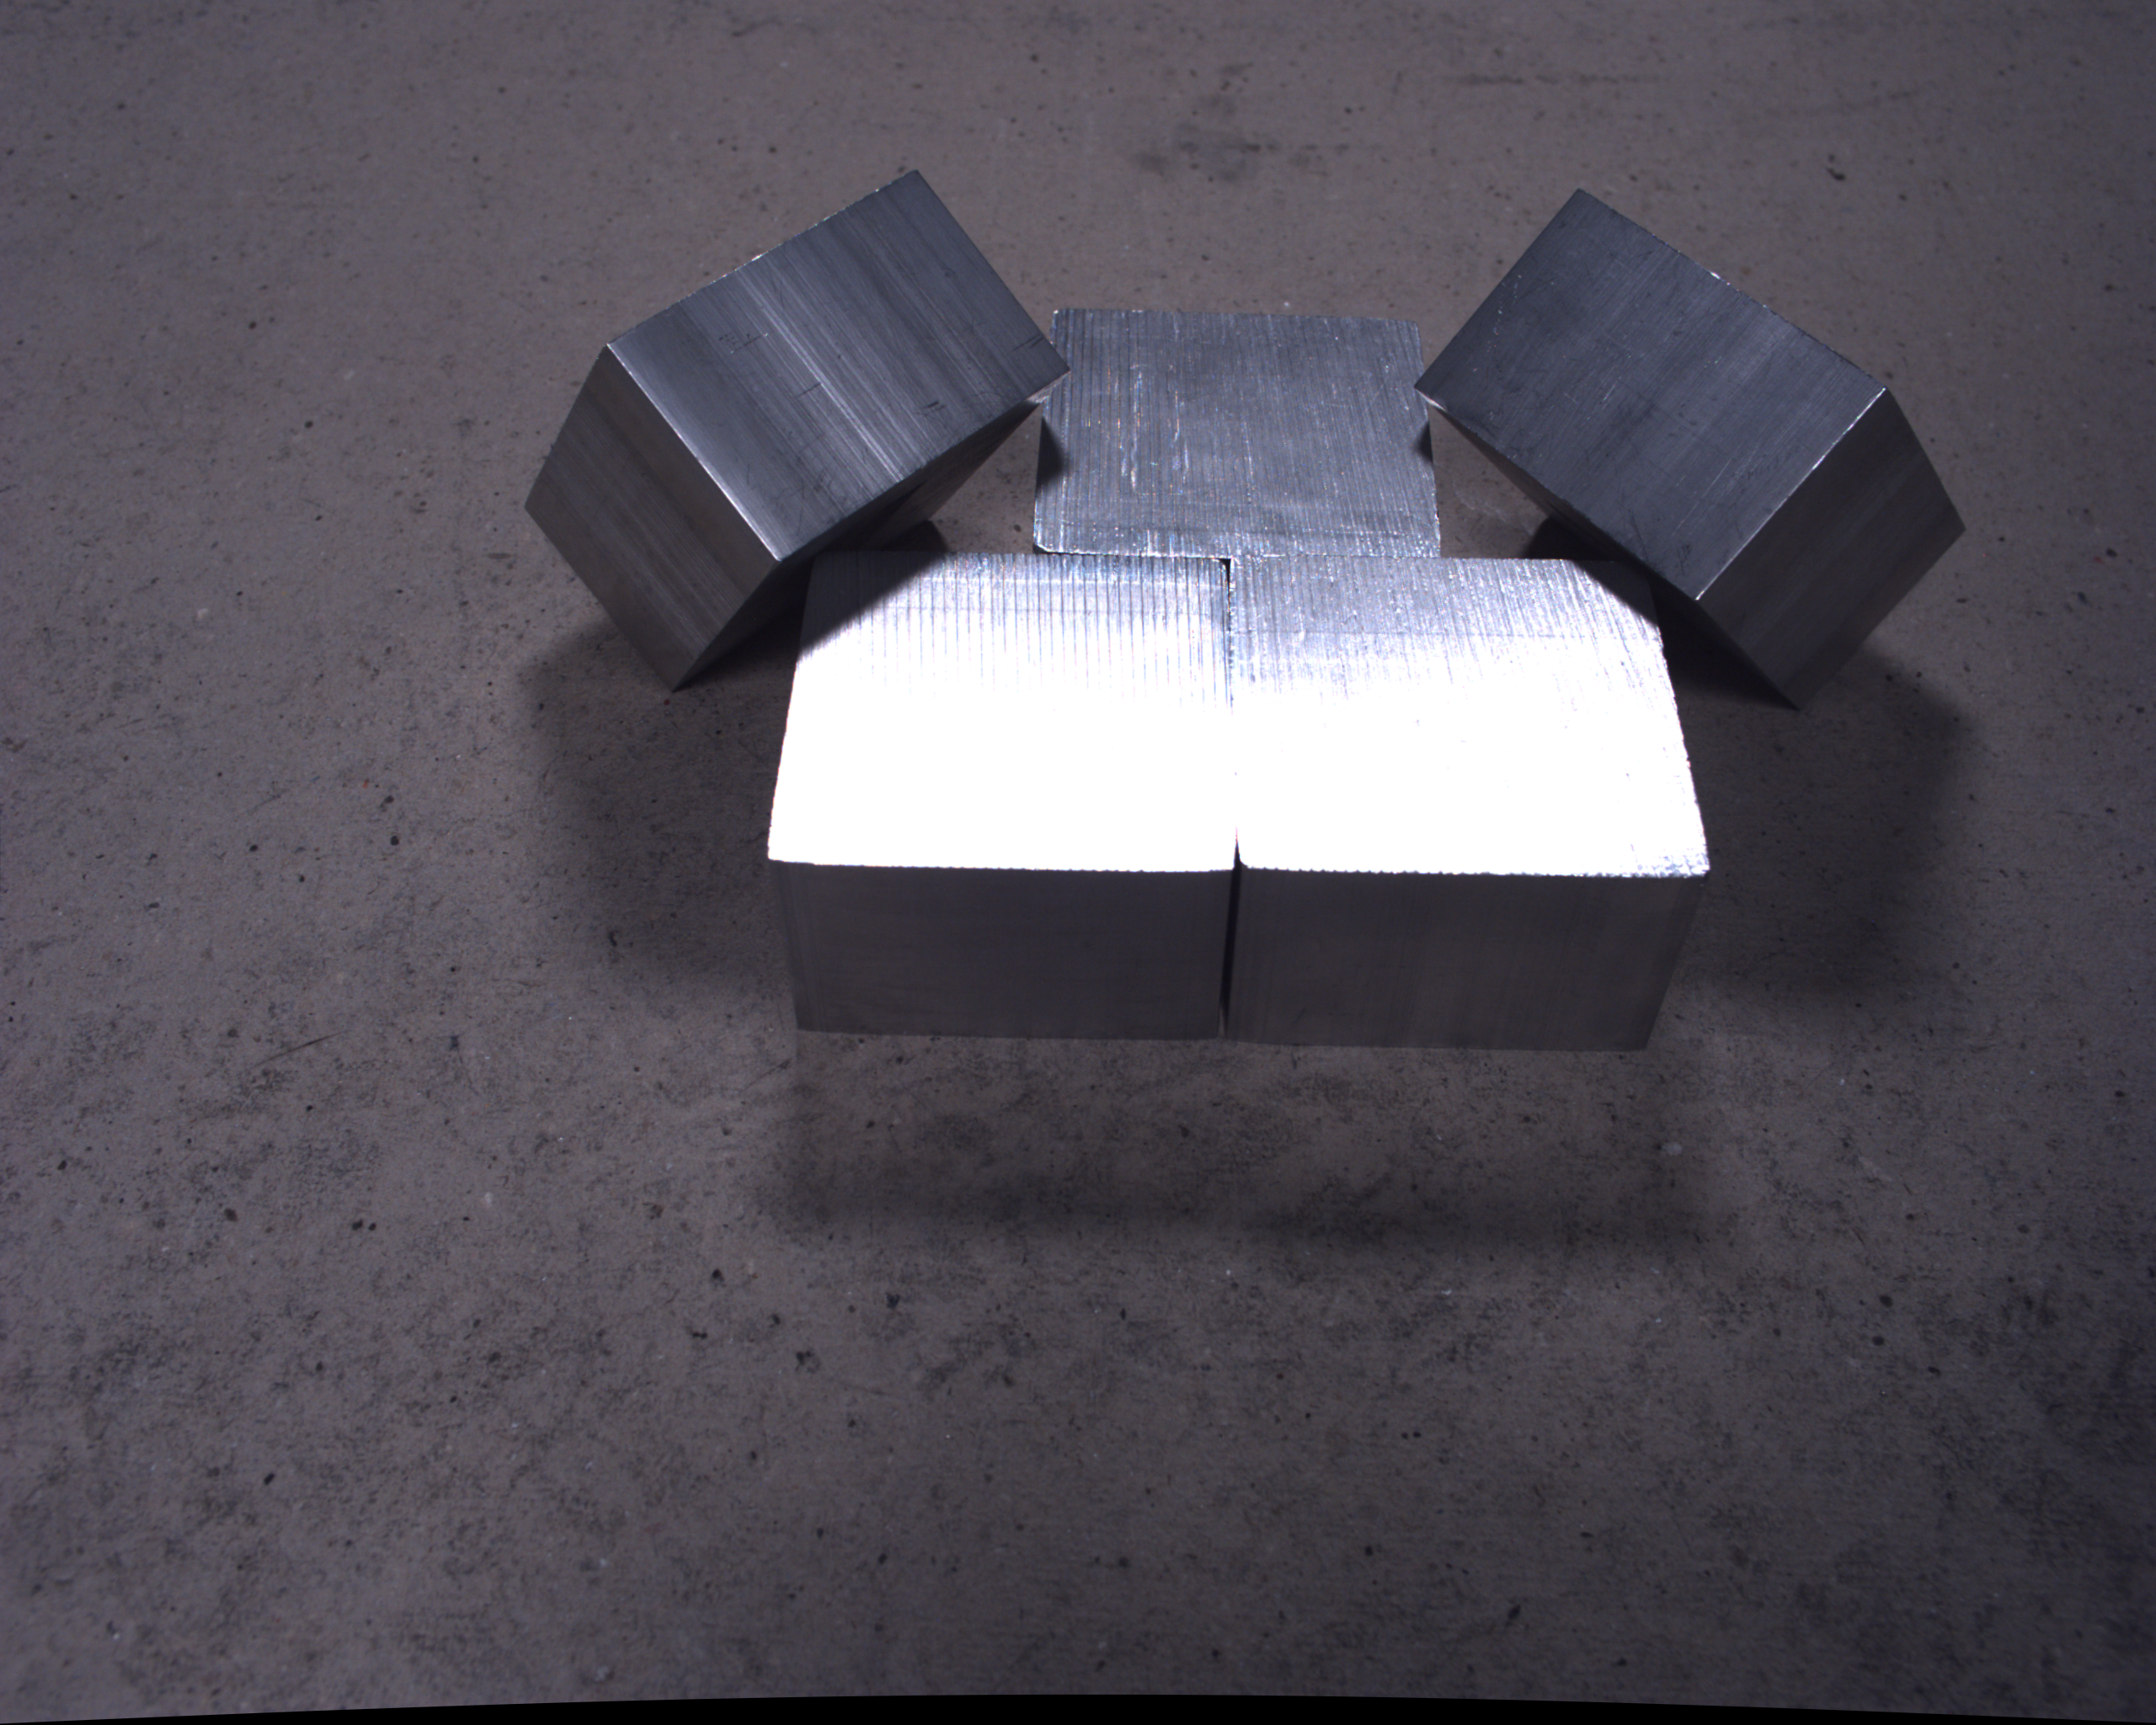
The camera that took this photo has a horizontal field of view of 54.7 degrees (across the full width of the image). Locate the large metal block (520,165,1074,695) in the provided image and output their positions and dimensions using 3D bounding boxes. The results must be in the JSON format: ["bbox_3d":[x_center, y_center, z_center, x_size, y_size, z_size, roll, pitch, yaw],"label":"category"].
[{"bbox_3d":[-0.060,-0.087,0.433,0.080,0.080,0.050,-40,95,-28],"label":"large metal block"}]

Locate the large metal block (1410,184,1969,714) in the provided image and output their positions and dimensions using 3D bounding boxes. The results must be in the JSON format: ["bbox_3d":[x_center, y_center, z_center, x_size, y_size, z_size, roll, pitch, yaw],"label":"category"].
[{"bbox_3d":[0.128,-0.084,0.433,0.050,0.080,0.080,-50,58,12],"label":"large metal block"}]

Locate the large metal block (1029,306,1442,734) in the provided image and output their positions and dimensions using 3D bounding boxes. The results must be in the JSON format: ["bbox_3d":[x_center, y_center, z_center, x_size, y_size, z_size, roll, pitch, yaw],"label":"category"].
[{"bbox_3d":[0.032,-0.075,0.452,0.081,0.050,0.080,2,50,1],"label":"large metal block"}]

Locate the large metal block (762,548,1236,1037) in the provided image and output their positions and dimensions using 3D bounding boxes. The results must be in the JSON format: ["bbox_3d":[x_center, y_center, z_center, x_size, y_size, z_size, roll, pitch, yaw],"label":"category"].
[{"bbox_3d":[-0.013,-0.014,0.400,0.081,0.050,0.080,1,50,0],"label":"large metal block"}]

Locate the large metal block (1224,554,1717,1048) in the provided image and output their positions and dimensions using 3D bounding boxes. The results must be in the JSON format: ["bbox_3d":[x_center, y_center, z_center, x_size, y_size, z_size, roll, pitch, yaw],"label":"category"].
[{"bbox_3d":[0.069,-0.013,0.397,0.081,0.050,0.080,1,50,0],"label":"large metal block"}]
